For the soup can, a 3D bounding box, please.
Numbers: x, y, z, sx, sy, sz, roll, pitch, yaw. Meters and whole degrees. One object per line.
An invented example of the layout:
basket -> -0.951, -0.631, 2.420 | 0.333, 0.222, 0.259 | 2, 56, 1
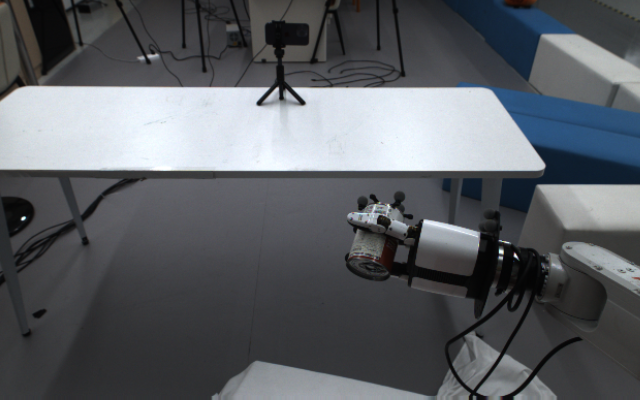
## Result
soup can -> 0.085, 0.060, 0.737 | 0.067, 0.067, 0.101 | 12, 59, 14
